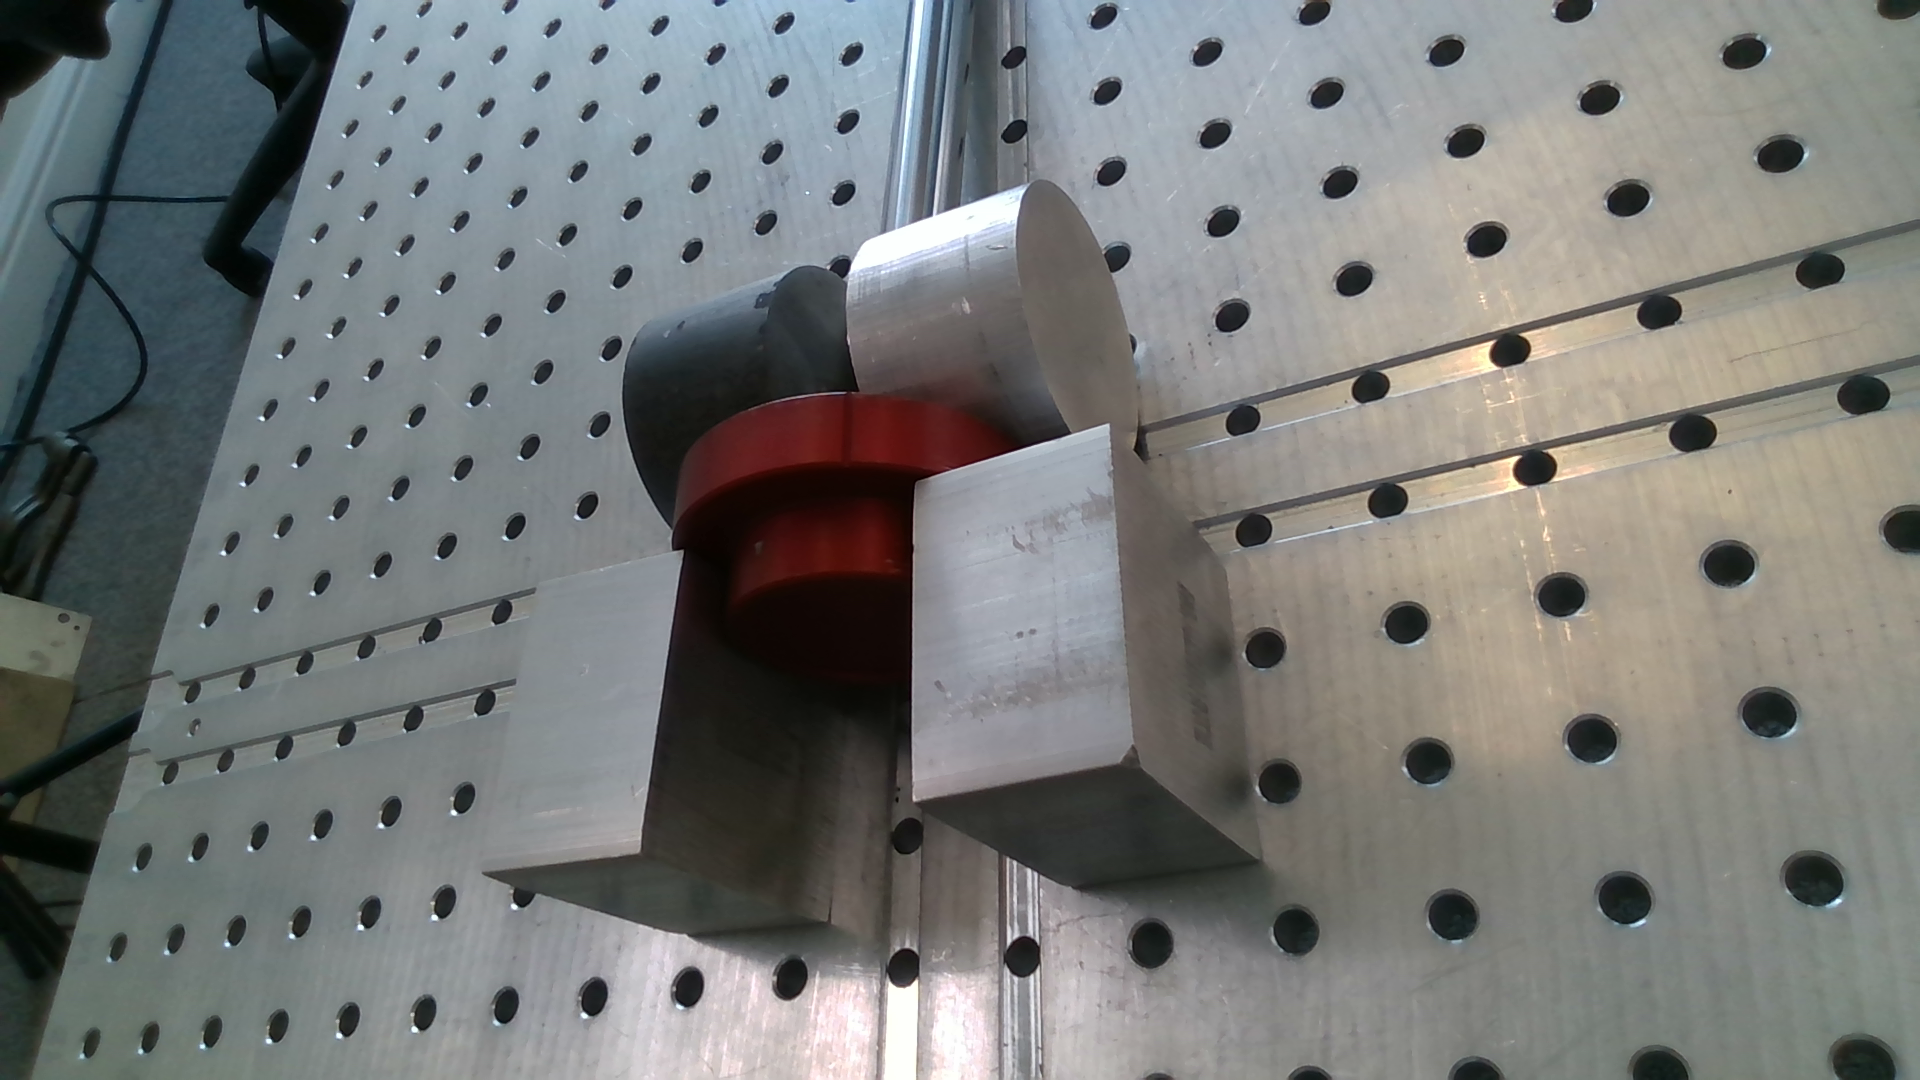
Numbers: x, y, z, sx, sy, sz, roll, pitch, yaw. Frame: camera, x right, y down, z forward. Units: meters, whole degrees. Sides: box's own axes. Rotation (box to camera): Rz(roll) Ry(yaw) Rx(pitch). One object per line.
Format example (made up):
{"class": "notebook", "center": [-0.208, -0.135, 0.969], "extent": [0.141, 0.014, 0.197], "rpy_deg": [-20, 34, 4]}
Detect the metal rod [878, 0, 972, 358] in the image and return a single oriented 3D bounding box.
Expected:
{"class": "metal rod", "center": [-0.013, -0.111, 0.448], "extent": [0.025, 0.025, 0.299], "rpy_deg": [-13, 55, 26]}

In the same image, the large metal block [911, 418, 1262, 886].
{"class": "large metal block", "center": [0.031, 0.031, 0.326], "extent": [0.050, 0.080, 0.080], "rpy_deg": [-15, 59, 25]}

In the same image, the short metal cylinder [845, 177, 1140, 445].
{"class": "short metal cylinder", "center": [0.011, -0.053, 0.382], "extent": [0.050, 0.080, 0.080], "rpy_deg": [-14, 59, 26]}

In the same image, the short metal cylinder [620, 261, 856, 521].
{"class": "short metal cylinder", "center": [-0.055, -0.037, 0.413], "extent": [0.050, 0.080, 0.080], "rpy_deg": [-13, 59, 26]}

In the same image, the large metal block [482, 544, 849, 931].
{"class": "large metal block", "center": [-0.075, 0.058, 0.377], "extent": [0.050, 0.080, 0.080], "rpy_deg": [-12, 60, 26]}

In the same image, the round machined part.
{"class": "round machined part", "center": [-0.027, 0.006, 0.362], "extent": [0.098, 0.098, 0.042], "rpy_deg": [-14, 59, 25]}
